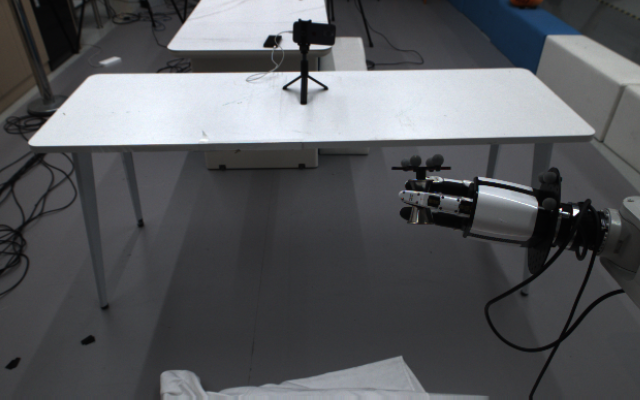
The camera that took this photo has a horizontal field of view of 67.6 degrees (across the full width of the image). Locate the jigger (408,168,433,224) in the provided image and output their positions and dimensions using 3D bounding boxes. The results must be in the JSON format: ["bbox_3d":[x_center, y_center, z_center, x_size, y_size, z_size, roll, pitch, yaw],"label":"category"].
[{"bbox_3d":[0.155,0.001,0.750,0.043,0.071,0.043,-1,2,0],"label":"jigger"}]
